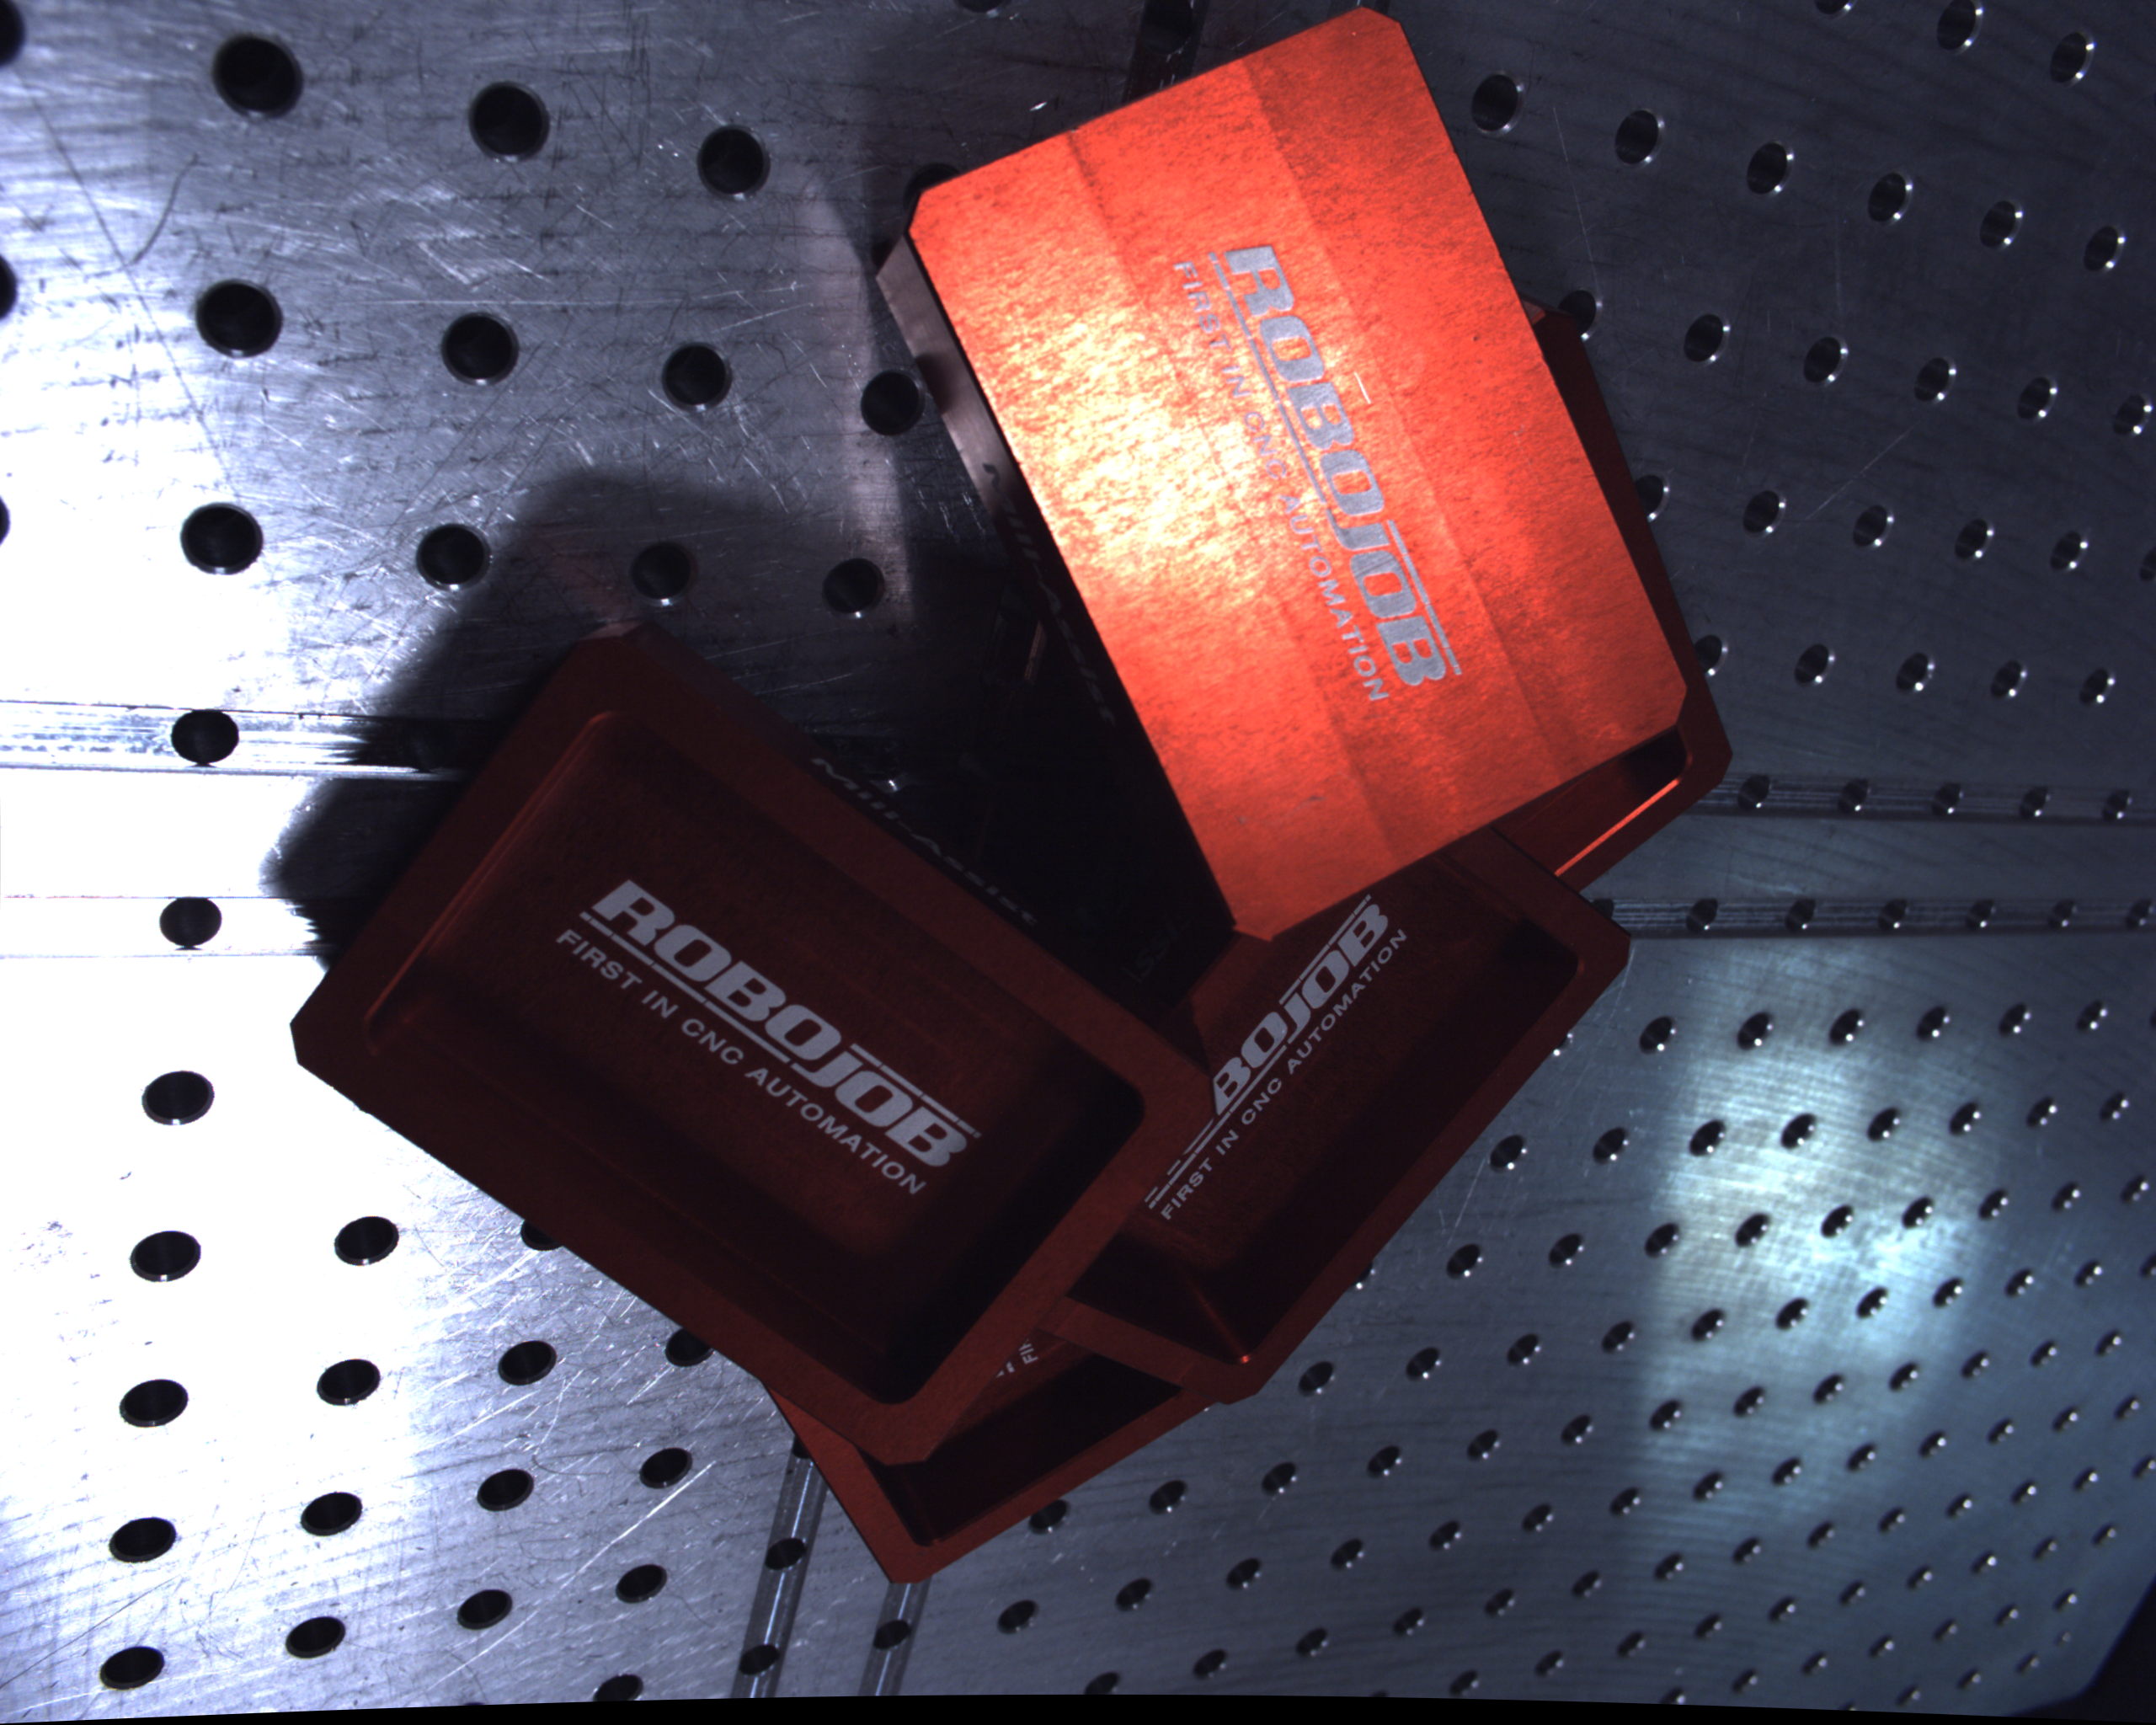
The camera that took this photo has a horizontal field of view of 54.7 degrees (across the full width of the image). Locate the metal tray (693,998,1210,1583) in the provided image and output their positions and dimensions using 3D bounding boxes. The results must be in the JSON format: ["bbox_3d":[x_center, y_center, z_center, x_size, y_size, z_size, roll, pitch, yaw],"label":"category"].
[{"bbox_3d":[-0.026,0.090,0.451,0.090,0.030,0.129,-29,129,-10],"label":"metal tray"}]

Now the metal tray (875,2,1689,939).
[{"bbox_3d":[0.035,-0.064,0.350,0.091,0.030,0.129,-27,98,-12],"label":"metal tray"}]

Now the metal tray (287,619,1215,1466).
[{"bbox_3d":[-0.054,0.031,0.359,0.130,0.030,0.090,37,98,-9],"label":"metal tray"}]

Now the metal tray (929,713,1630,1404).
[{"bbox_3d":[0.039,0.041,0.418,0.090,0.030,0.130,33,100,-39],"label":"metal tray"}]

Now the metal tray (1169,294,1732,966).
[{"bbox_3d":[0.075,-0.041,0.425,0.090,0.030,0.130,-37,130,-4],"label":"metal tray"}]
